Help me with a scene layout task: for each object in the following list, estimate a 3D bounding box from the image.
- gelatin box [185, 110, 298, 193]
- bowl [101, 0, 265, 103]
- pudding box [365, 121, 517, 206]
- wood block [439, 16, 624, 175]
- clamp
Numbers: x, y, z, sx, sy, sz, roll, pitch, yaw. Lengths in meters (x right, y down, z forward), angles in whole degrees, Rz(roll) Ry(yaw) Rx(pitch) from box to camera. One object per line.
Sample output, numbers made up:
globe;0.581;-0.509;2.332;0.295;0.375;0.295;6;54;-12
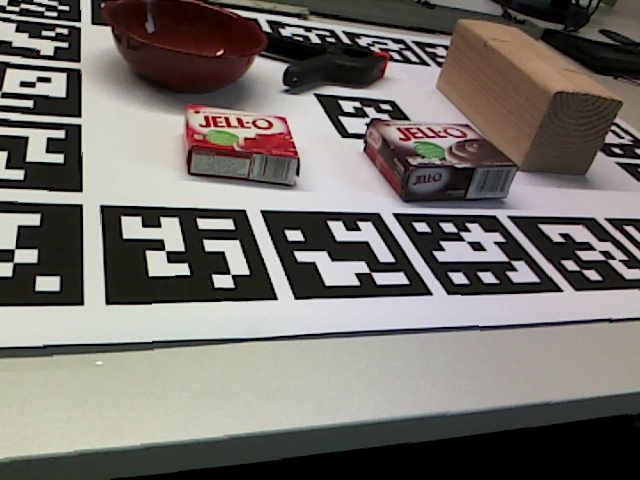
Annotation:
gelatin box;-0.068;-0.076;0.521;0.089;0.030;0.073;4;39;-15
bowl;-0.140;-0.187;0.633;0.161;0.055;0.162;11;39;-9
pudding box;0.109;-0.073;0.577;0.113;0.038;0.090;-3;44;-20
wood block;0.229;-0.169;0.702;0.089;0.091;0.207;2;39;-20
clamp;-0.005;-0.207;0.728;0.164;0.036;0.122;-7;42;-31
